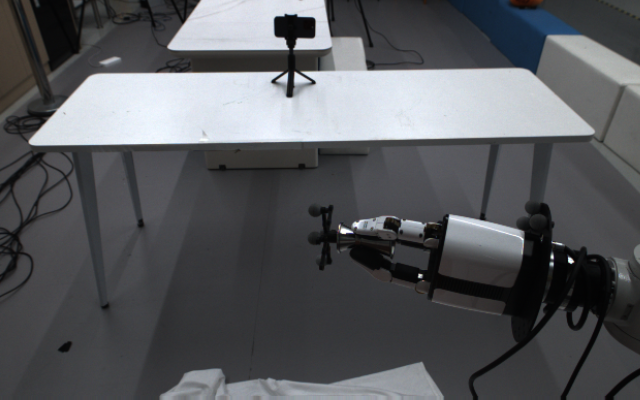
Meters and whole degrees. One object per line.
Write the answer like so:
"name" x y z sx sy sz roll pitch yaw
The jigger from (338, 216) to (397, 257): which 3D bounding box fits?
"jigger" 0.065 0.045 0.604 0.071 0.043 0.043 2 34 13
